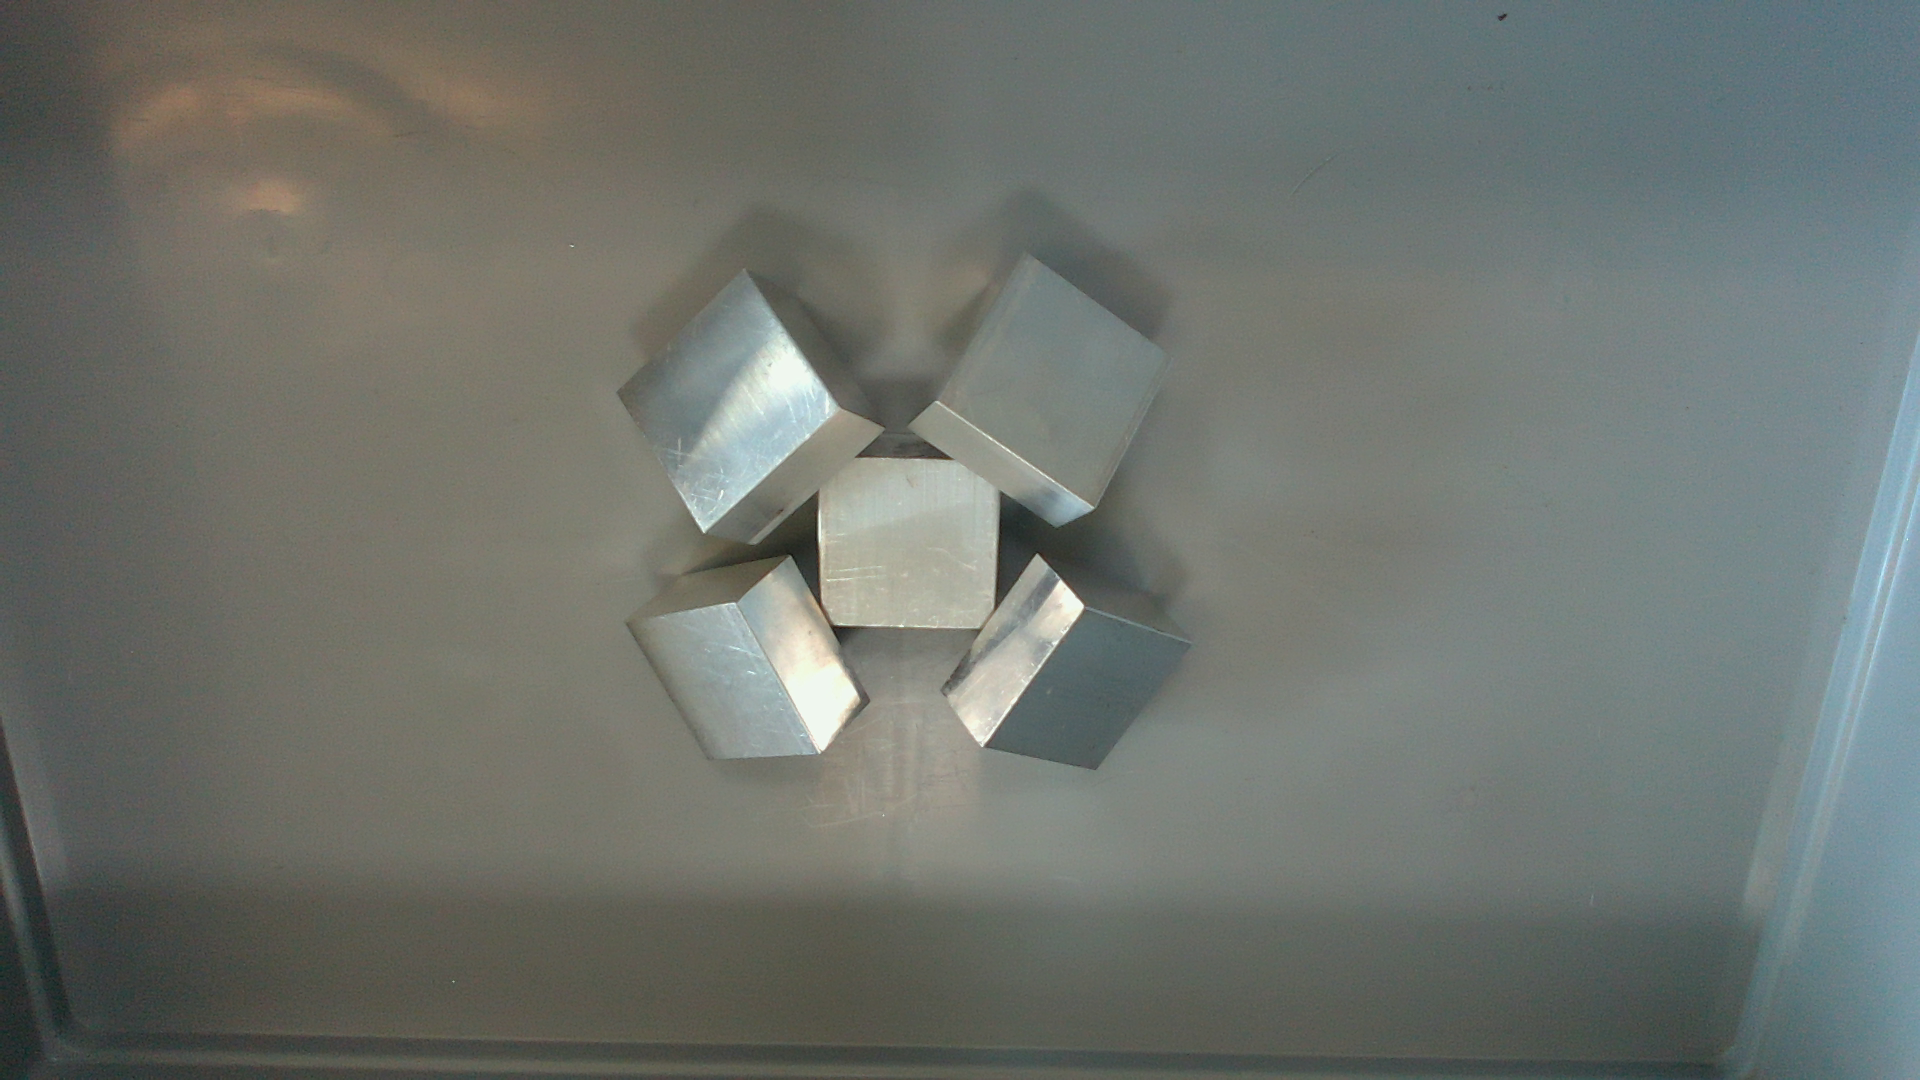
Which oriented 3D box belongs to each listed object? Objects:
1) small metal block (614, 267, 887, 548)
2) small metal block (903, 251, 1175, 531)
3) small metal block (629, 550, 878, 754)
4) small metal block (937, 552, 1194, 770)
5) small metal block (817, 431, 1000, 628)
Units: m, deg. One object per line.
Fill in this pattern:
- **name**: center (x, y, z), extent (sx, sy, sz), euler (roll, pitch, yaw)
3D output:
- **small metal block**: center (-0.056, -0.035, 0.366), extent (0.050, 0.025, 0.050), euler (-41, 68, 14)
- **small metal block**: center (0.021, -0.039, 0.365), extent (0.050, 0.025, 0.050), euler (33, 70, -12)
- **small metal block**: center (-0.059, 0.033, 0.392), extent (0.050, 0.025, 0.050), euler (-9, 116, 44)
- **small metal block**: center (0.030, 0.036, 0.394), extent (0.050, 0.025, 0.050), euler (19, 113, -43)
- **small metal block**: center (-0.014, -0.003, 0.390), extent (0.050, 0.025, 0.050), euler (1, 110, -1)
